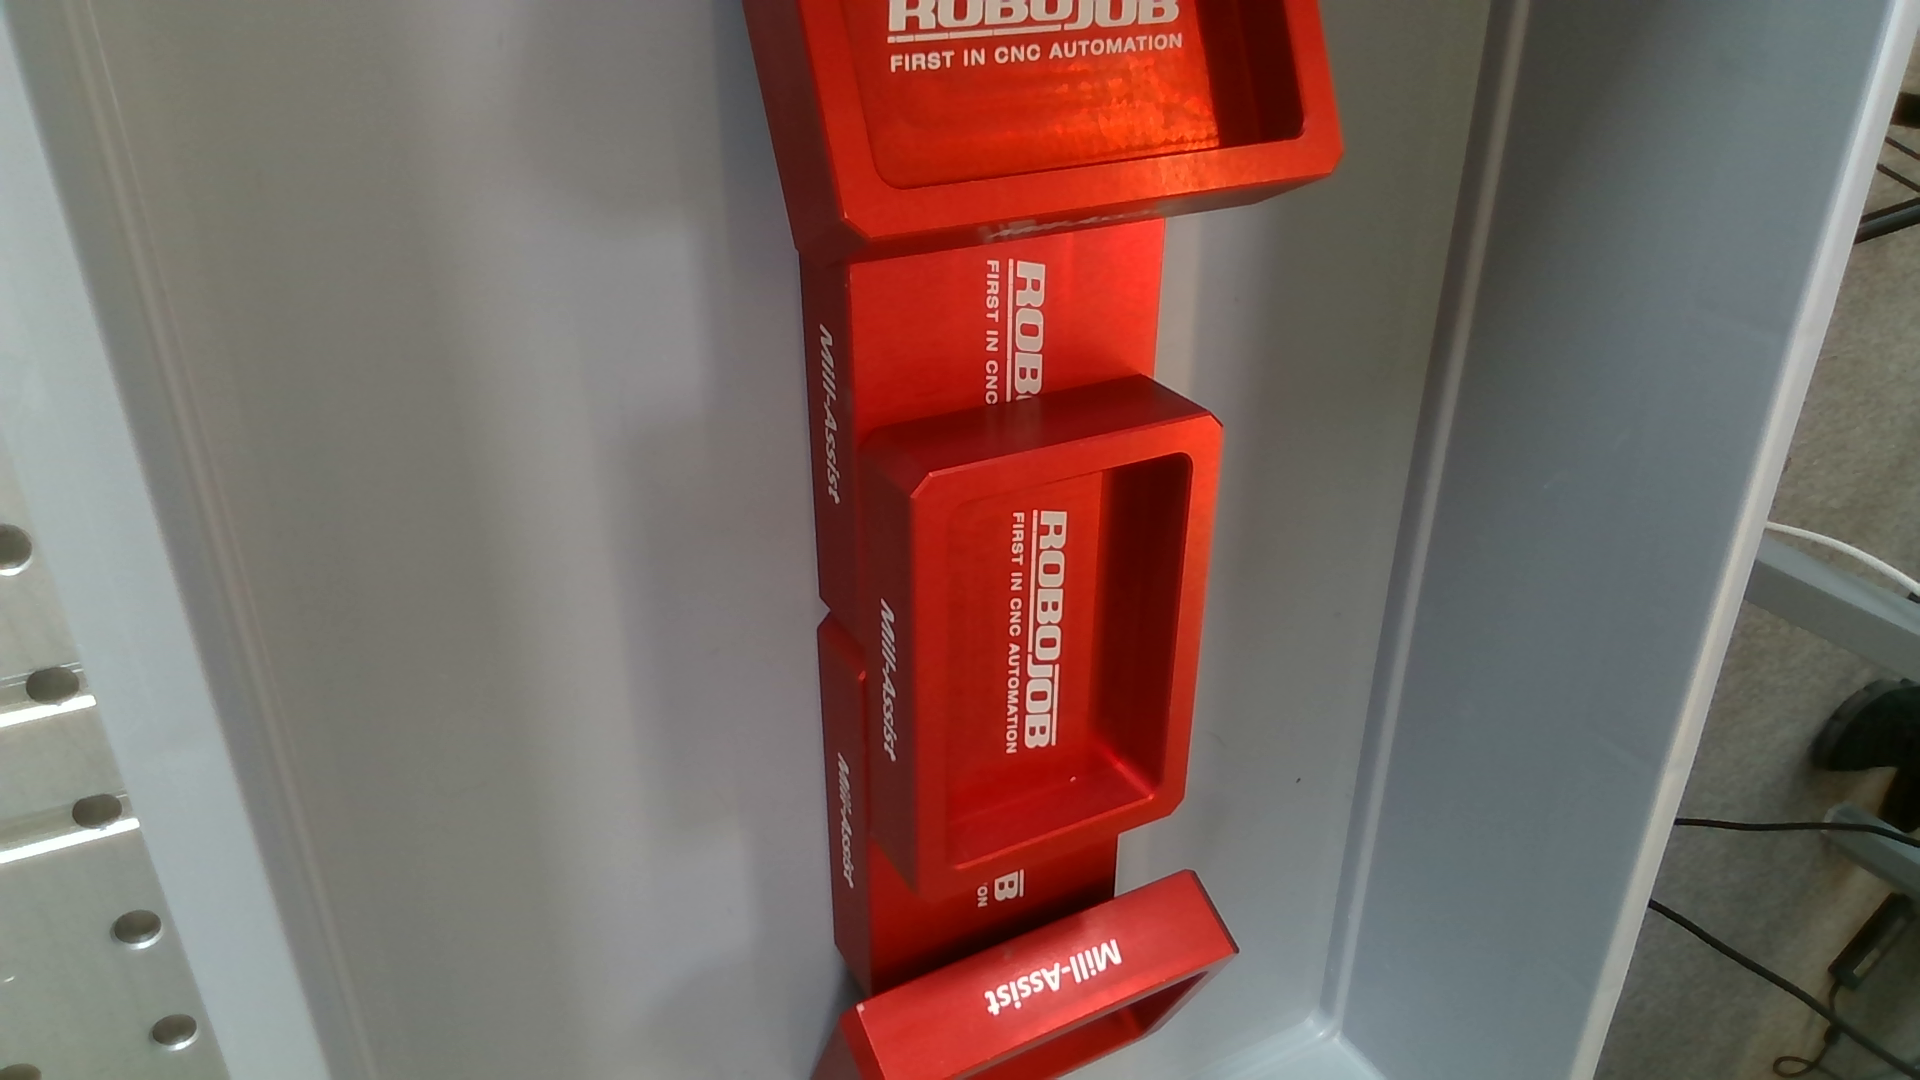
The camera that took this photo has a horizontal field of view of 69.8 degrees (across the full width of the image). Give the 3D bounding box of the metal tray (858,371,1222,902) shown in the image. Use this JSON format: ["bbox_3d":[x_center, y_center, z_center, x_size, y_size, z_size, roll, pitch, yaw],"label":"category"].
[{"bbox_3d":[0.021,0.027,0.373,0.090,0.030,0.130,-14,121,-26],"label":"metal tray"}]

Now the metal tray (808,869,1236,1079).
[{"bbox_3d":[0.019,0.160,0.458,0.130,0.030,0.090,-15,150,-25],"label":"metal tray"}]

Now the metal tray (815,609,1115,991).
[{"bbox_3d":[0.005,0.073,0.428,0.090,0.030,0.130,-14,121,-25],"label":"metal tray"}]

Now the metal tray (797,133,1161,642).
[{"bbox_3d":[0.006,-0.042,0.367,0.090,0.030,0.130,-14,121,-25],"label":"metal tray"}]

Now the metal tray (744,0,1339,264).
[{"bbox_3d":[0.019,-0.118,0.310,0.130,0.030,0.090,-14,96,-25],"label":"metal tray"}]
